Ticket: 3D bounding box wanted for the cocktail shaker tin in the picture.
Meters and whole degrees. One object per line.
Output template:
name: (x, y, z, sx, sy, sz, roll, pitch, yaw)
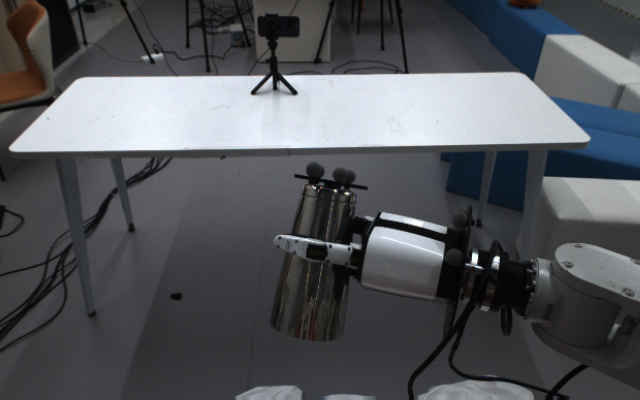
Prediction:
cocktail shaker tin: (-0.001, 0.071, 0.583, 0.093, 0.170, 0.093, 10, 3, -1)
